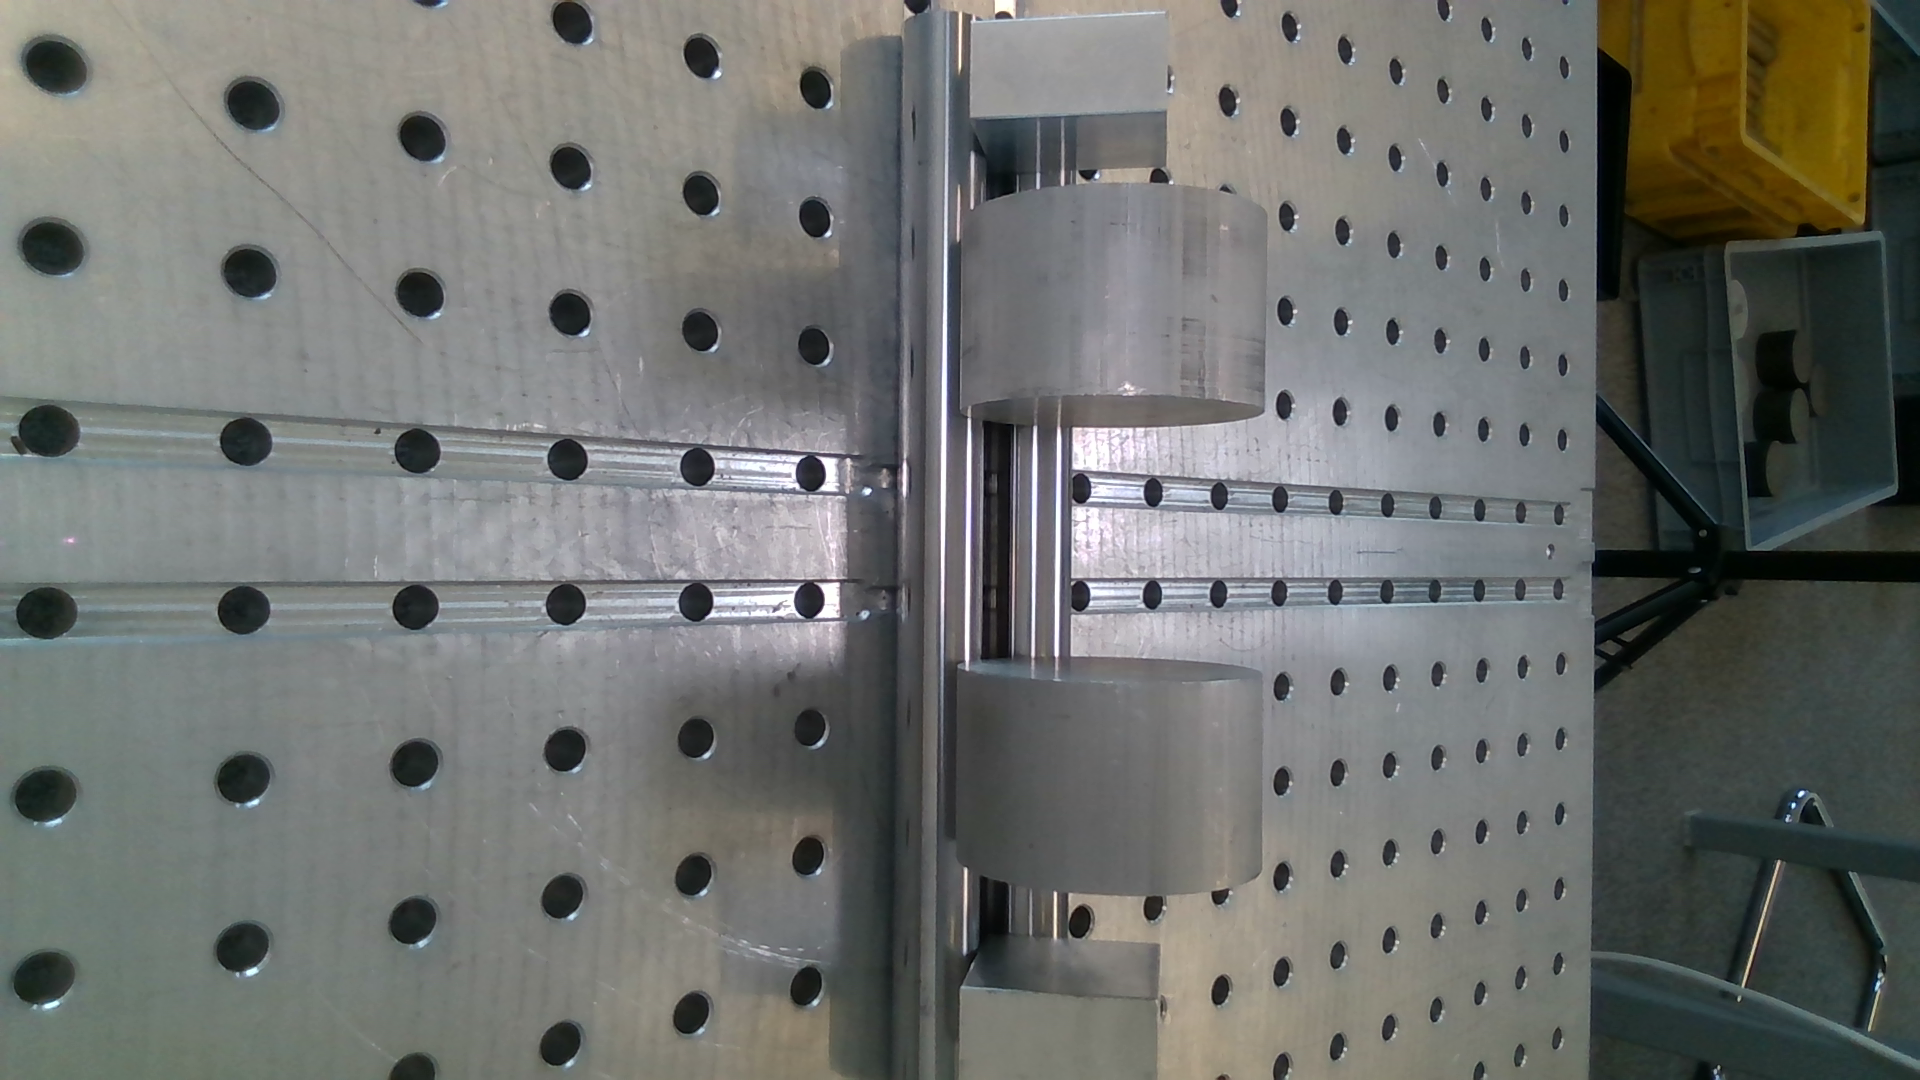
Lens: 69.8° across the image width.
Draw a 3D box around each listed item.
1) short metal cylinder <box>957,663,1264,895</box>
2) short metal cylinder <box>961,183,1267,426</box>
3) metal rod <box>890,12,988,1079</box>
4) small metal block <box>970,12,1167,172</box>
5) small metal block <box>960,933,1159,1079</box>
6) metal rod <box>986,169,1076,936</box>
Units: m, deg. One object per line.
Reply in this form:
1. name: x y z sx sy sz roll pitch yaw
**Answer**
1. short metal cylinder: 0.039 0.059 0.363 0.080 0.080 0.050 1 89 -40
2. short metal cylinder: 0.040 -0.059 0.364 0.080 0.080 0.050 1 89 -40
3. metal rod: -0.006 0.005 0.390 0.025 0.025 0.300 1 90 -40
4. small metal block: 0.031 -0.120 0.374 0.050 0.050 0.025 6 84 -82
5. small metal block: 0.028 0.127 0.373 0.050 0.050 0.025 6 84 -81
6. metal rod: 0.021 0.008 0.412 0.025 0.025 0.300 1 90 -40
